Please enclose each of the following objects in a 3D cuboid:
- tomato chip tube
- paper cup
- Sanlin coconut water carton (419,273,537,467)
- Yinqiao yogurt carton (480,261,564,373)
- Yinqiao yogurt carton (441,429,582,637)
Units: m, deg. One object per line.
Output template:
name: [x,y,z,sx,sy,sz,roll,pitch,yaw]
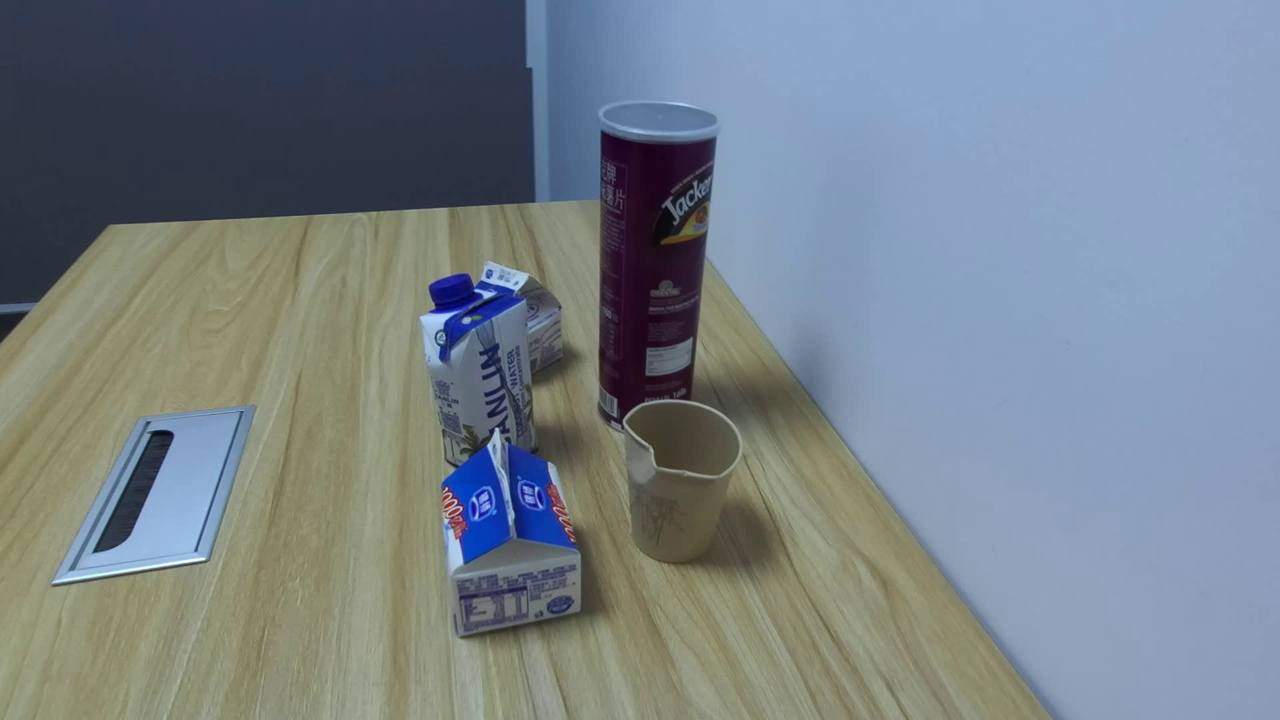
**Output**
tomato chip tube: [0.008,-0.057,0.511,0.078,0.234,0.078,2,33,-1]
paper cup: [0.023,0.078,0.442,0.073,0.081,0.069,7,33,5]
Sanlin coconut water carton: [-0.109,0.011,0.491,0.057,0.142,0.078,16,35,30]
Yinqiao yogurt carton: [-0.114,-0.039,0.599,0.083,0.093,0.077,27,40,31]
Yinqiao yogurt carton: [-0.076,0.096,0.407,0.074,0.092,0.075,-7,36,-15]
